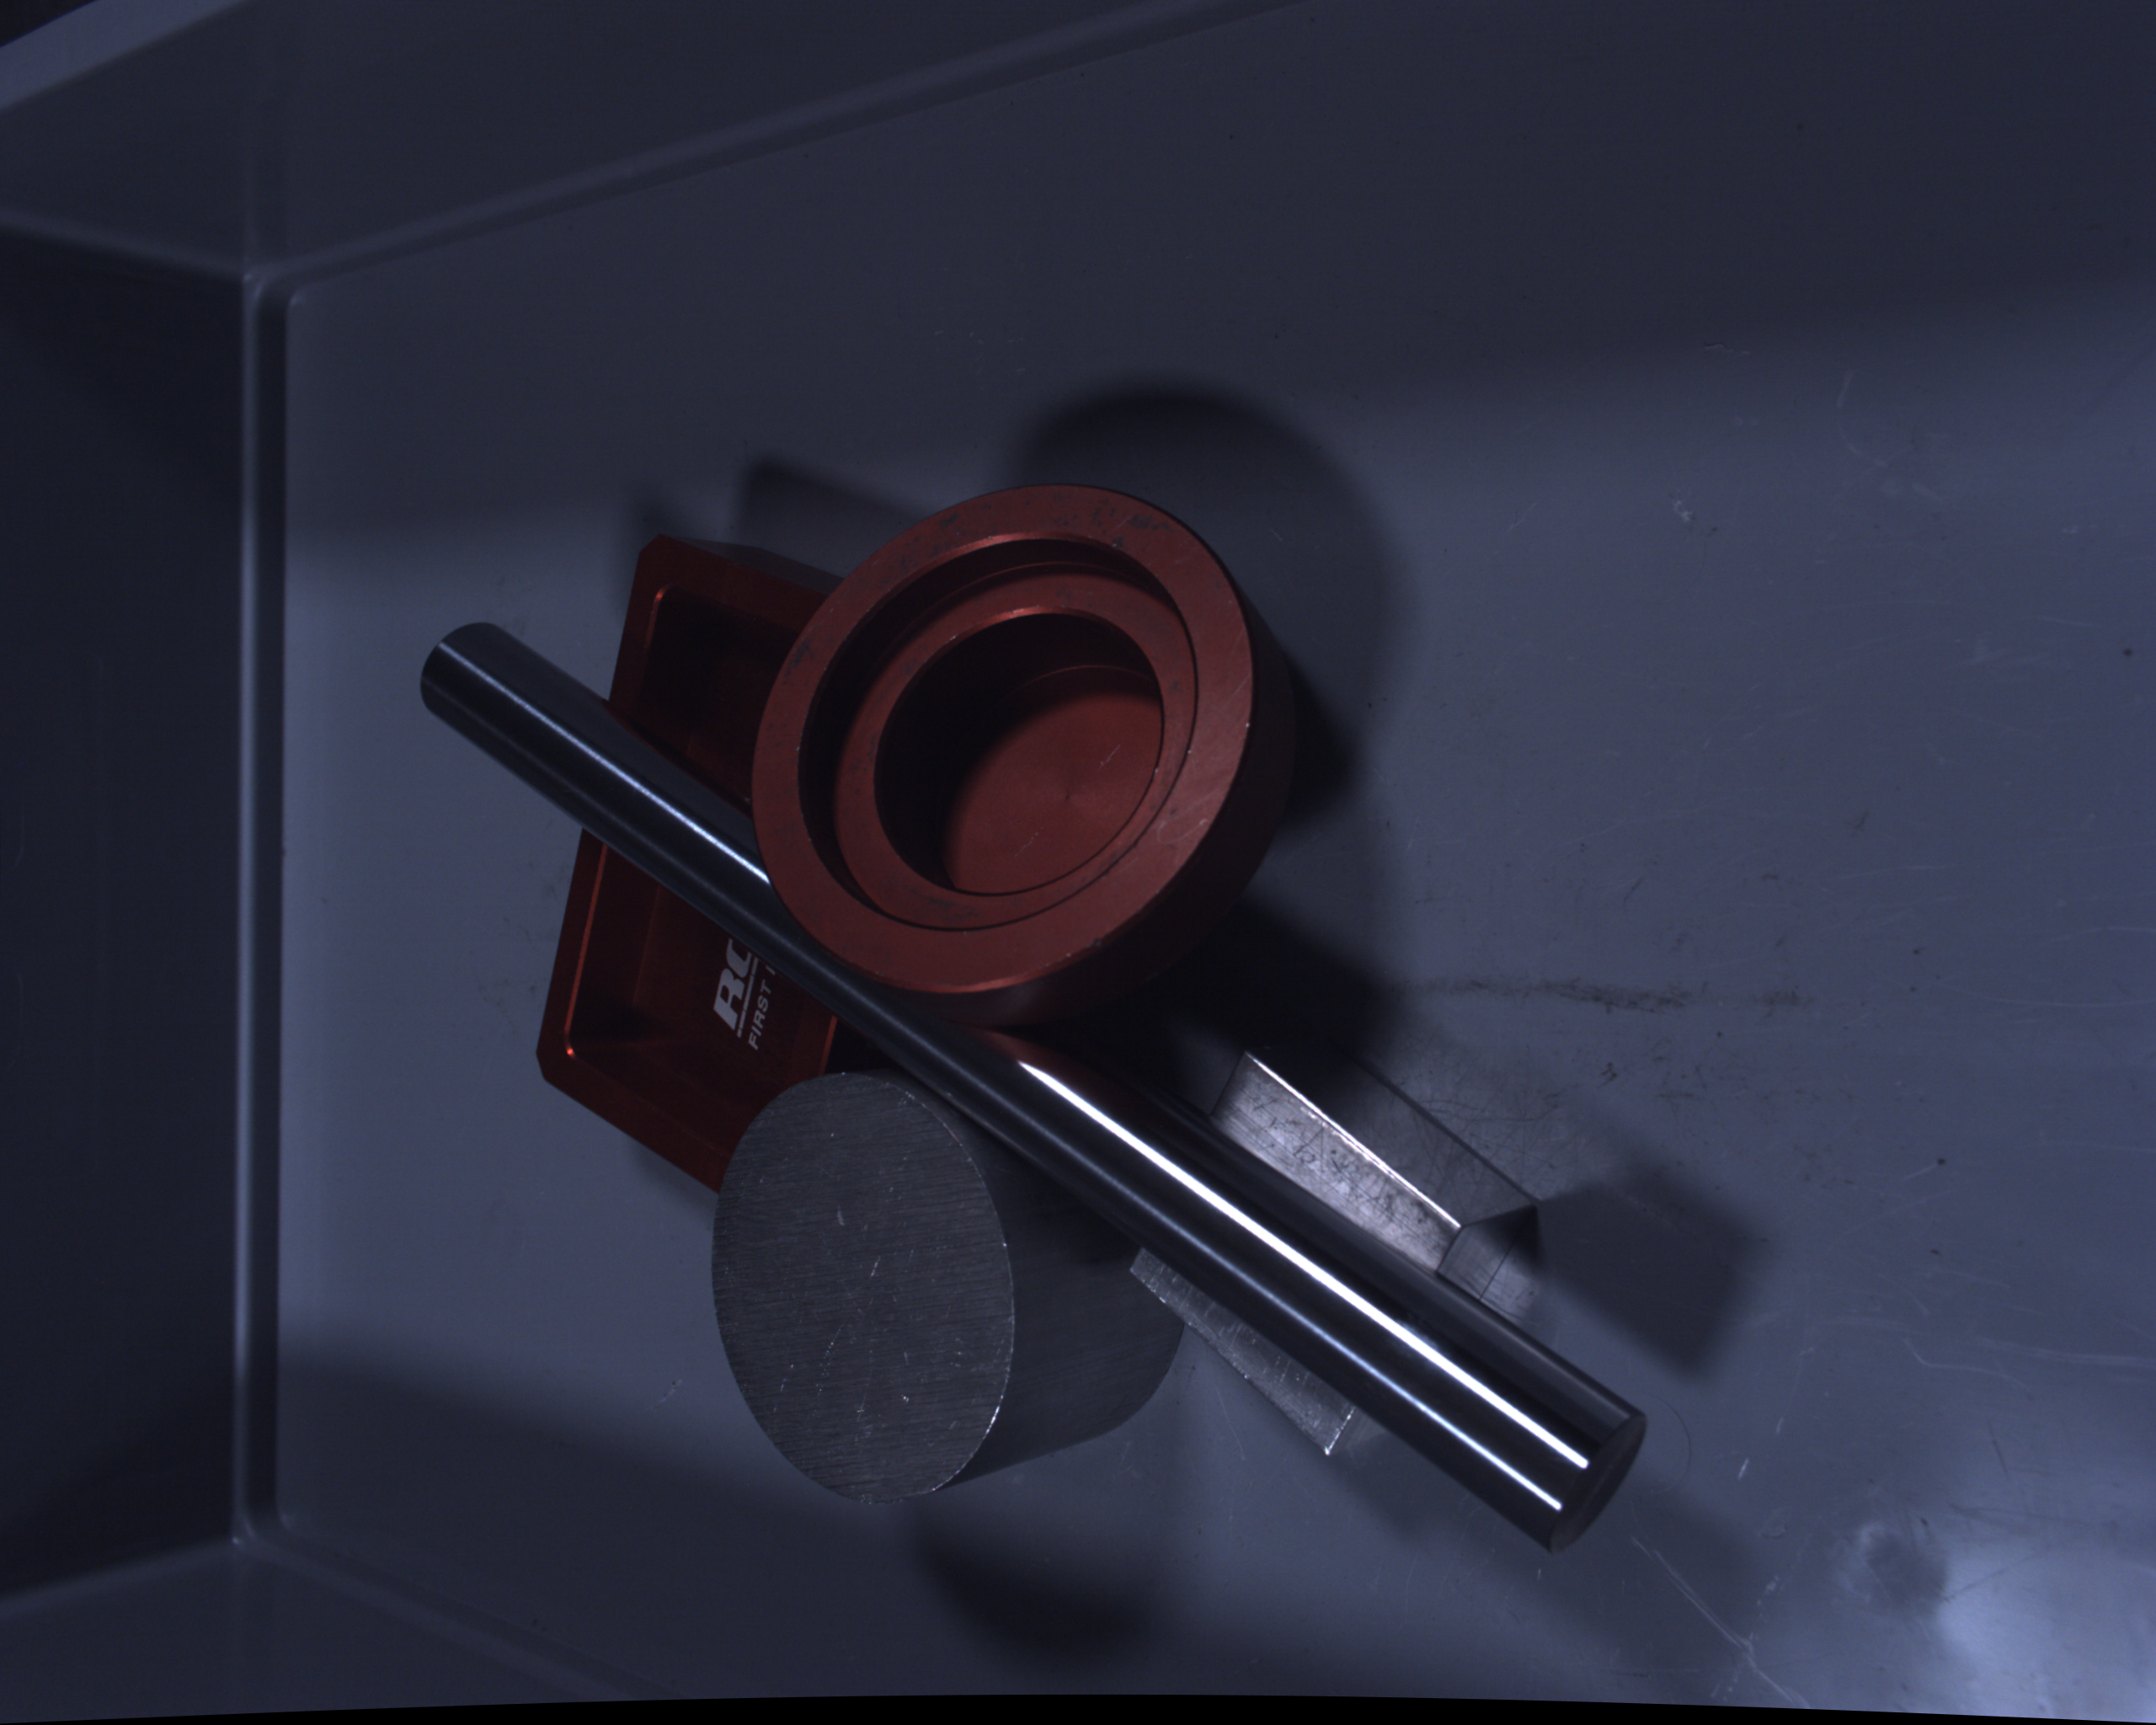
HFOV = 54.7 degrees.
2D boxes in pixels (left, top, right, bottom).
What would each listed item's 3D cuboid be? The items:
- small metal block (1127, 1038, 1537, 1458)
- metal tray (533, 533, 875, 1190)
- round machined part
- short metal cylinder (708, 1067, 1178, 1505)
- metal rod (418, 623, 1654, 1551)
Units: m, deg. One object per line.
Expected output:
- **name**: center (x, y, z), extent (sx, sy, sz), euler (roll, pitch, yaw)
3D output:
- **small metal block**: center (0.044, 0.066, 0.367), extent (0.050, 0.025, 0.050), euler (39, 113, 33)
- **metal tray**: center (-0.069, 0.002, 0.455), extent (0.090, 0.030, 0.129), euler (23, 105, 37)
- **round machined part**: center (-0.007, -0.016, 0.381), extent (0.098, 0.042, 0.098), euler (-10, 65, 22)
- **short metal cylinder**: center (-0.026, 0.079, 0.407), extent (0.080, 0.050, 0.079), euler (0, 90, 39)
- **metal rod**: center (-0.029, 0.025, 0.389), extent (0.300, 0.025, 0.025), euler (32, 110, 32)
